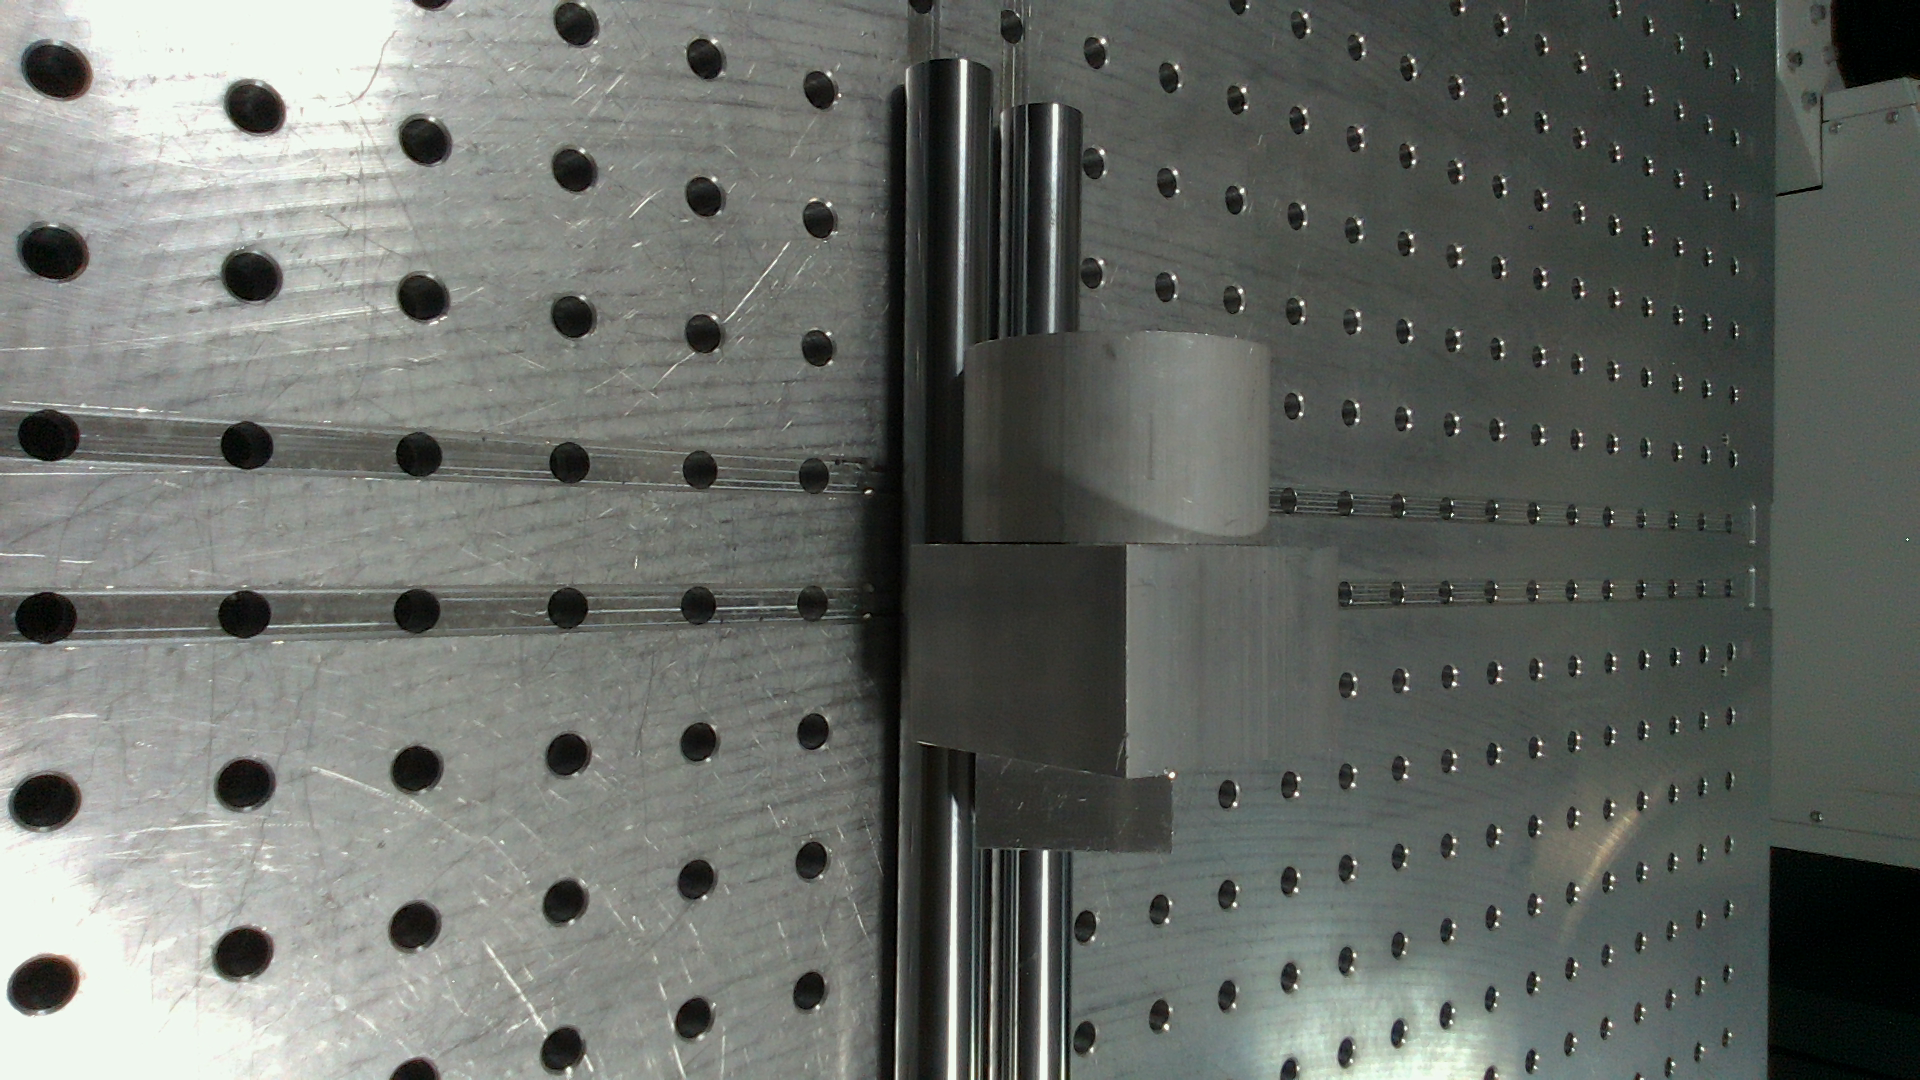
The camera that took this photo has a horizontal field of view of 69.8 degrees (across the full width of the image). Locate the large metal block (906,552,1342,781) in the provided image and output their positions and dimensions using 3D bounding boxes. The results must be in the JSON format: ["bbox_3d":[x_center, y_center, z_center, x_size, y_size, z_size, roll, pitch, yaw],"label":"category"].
[{"bbox_3d":[0.042,0.028,0.359,0.080,0.080,0.050,0,90,-40],"label":"large metal block"}]

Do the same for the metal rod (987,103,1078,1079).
[{"bbox_3d":[0.022,0.023,0.412,0.025,0.025,0.300,1,89,-40],"label":"metal rod"}]

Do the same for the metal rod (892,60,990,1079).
[{"bbox_3d":[-0.005,0.018,0.389,0.025,0.025,0.300,1,89,-40],"label":"metal rod"}]

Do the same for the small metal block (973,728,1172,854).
[{"bbox_3d":[0.031,0.066,0.372,0.050,0.050,0.025,6,85,-84],"label":"small metal block"}]

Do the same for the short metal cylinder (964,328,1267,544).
[{"bbox_3d":[0.040,-0.024,0.362,0.080,0.080,0.050,1,89,-40],"label":"short metal cylinder"}]
